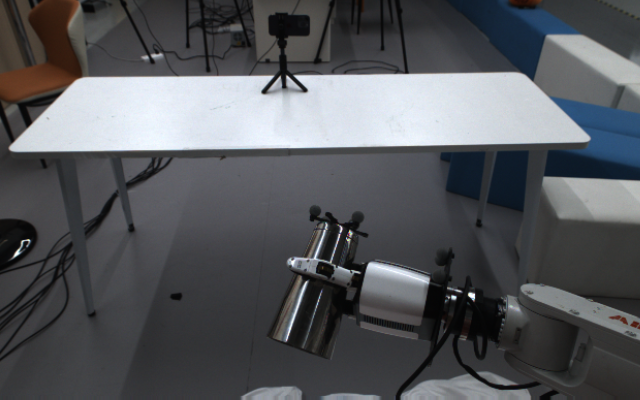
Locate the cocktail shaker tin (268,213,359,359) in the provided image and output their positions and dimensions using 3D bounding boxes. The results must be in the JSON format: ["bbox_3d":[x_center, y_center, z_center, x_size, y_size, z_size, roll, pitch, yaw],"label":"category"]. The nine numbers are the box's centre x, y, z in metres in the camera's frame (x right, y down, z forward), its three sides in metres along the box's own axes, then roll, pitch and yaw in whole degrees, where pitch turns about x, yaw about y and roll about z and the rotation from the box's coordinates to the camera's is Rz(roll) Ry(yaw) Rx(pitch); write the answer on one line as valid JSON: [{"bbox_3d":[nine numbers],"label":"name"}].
[{"bbox_3d":[-0.002,0.121,0.667,0.093,0.093,0.170,13,70,16],"label":"cocktail shaker tin"}]
